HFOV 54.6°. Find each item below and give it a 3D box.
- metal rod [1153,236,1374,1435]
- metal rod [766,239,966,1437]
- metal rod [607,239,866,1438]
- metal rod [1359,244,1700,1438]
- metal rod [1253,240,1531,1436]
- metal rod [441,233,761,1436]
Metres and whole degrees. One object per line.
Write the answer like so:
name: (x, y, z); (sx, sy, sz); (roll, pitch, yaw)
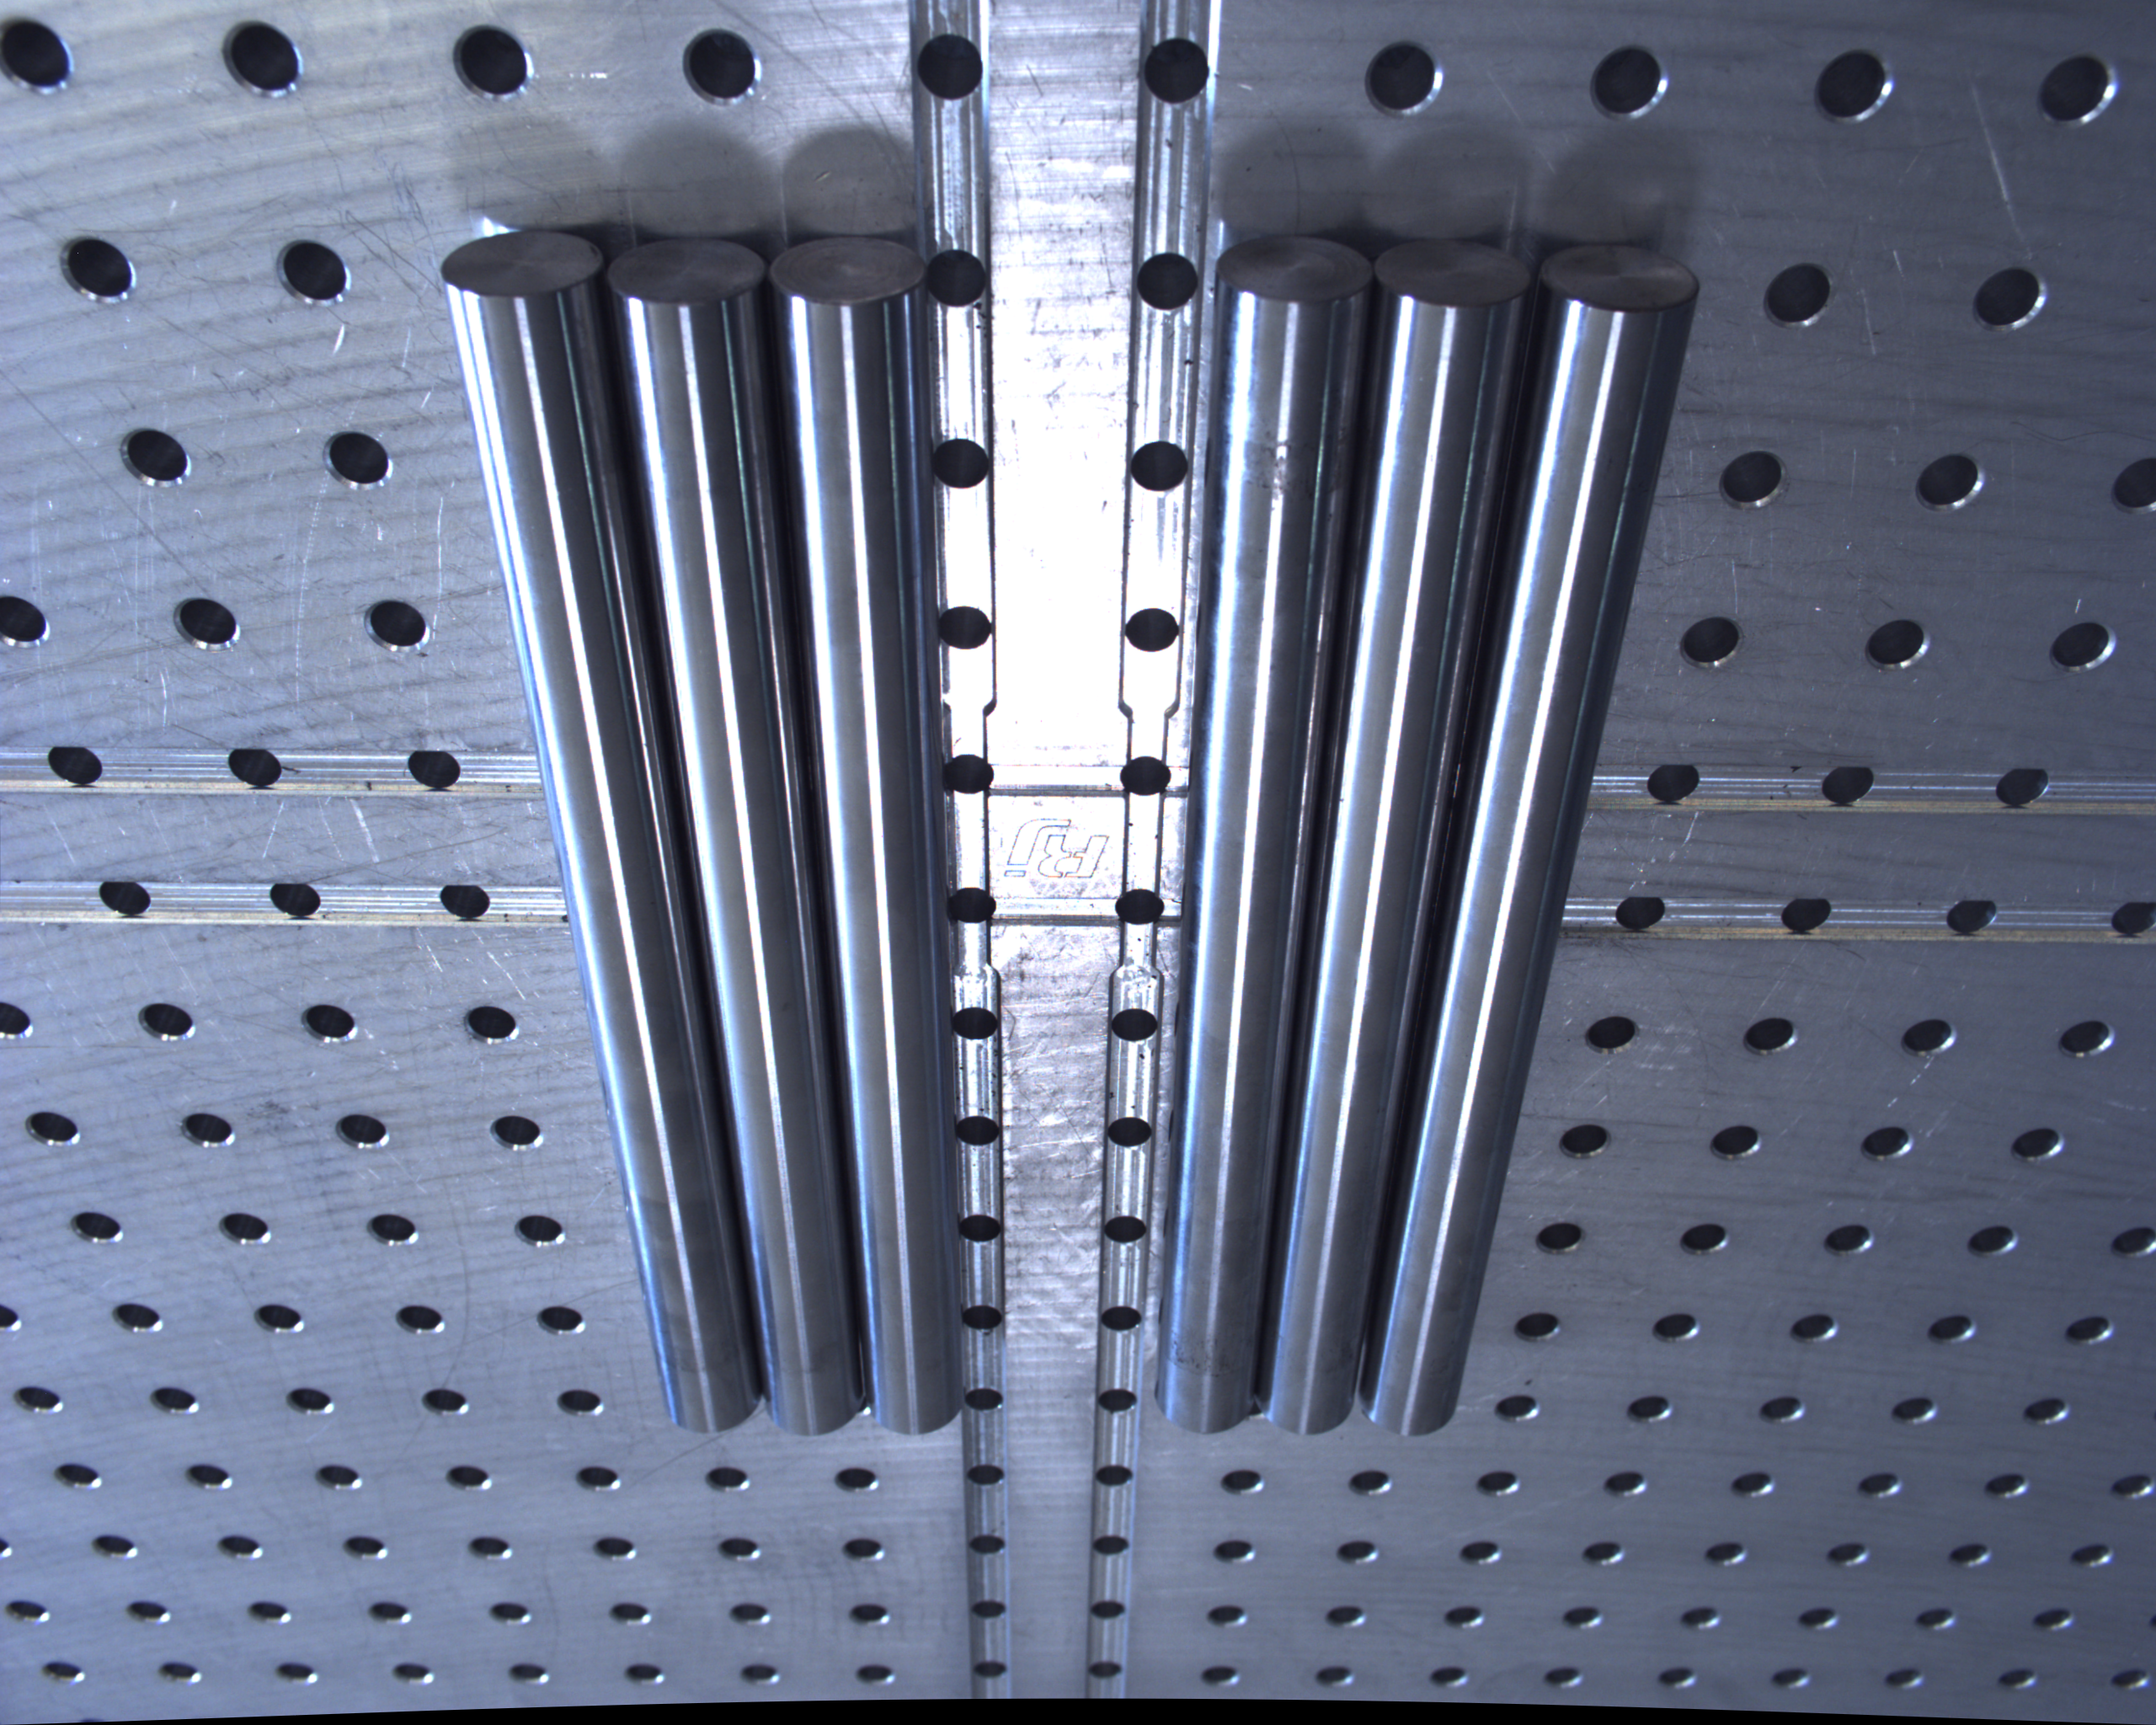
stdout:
metal rod: (0.033, 0.019, 0.427); (0.025, 0.025, 0.298); (0, 130, -1)
metal rod: (-0.038, 0.020, 0.427); (0.025, 0.025, 0.298); (0, 130, -1)
metal rod: (-0.064, 0.020, 0.427); (0.025, 0.025, 0.298); (0, 130, -1)
metal rod: (0.084, 0.020, 0.429); (0.025, 0.025, 0.298); (0, 130, -1)
metal rod: (0.058, 0.020, 0.428); (0.025, 0.025, 0.298); (0, 130, -1)
metal rod: (-0.089, 0.019, 0.426); (0.025, 0.025, 0.298); (0, 130, -1)
